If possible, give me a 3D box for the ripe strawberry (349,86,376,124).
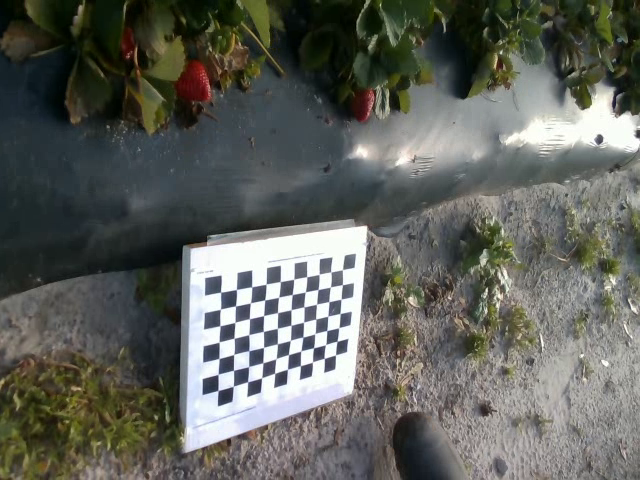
[{"bbox_3d":[0.037,-0.119,0.555,0.029,0.036,0.021,-5,6,-35],"label":"ripe strawberry"}]

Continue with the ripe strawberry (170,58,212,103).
[{"bbox_3d":[-0.094,-0.109,0.439,0.032,0.030,0.025,-47,17,-22],"label":"ripe strawberry"}]
